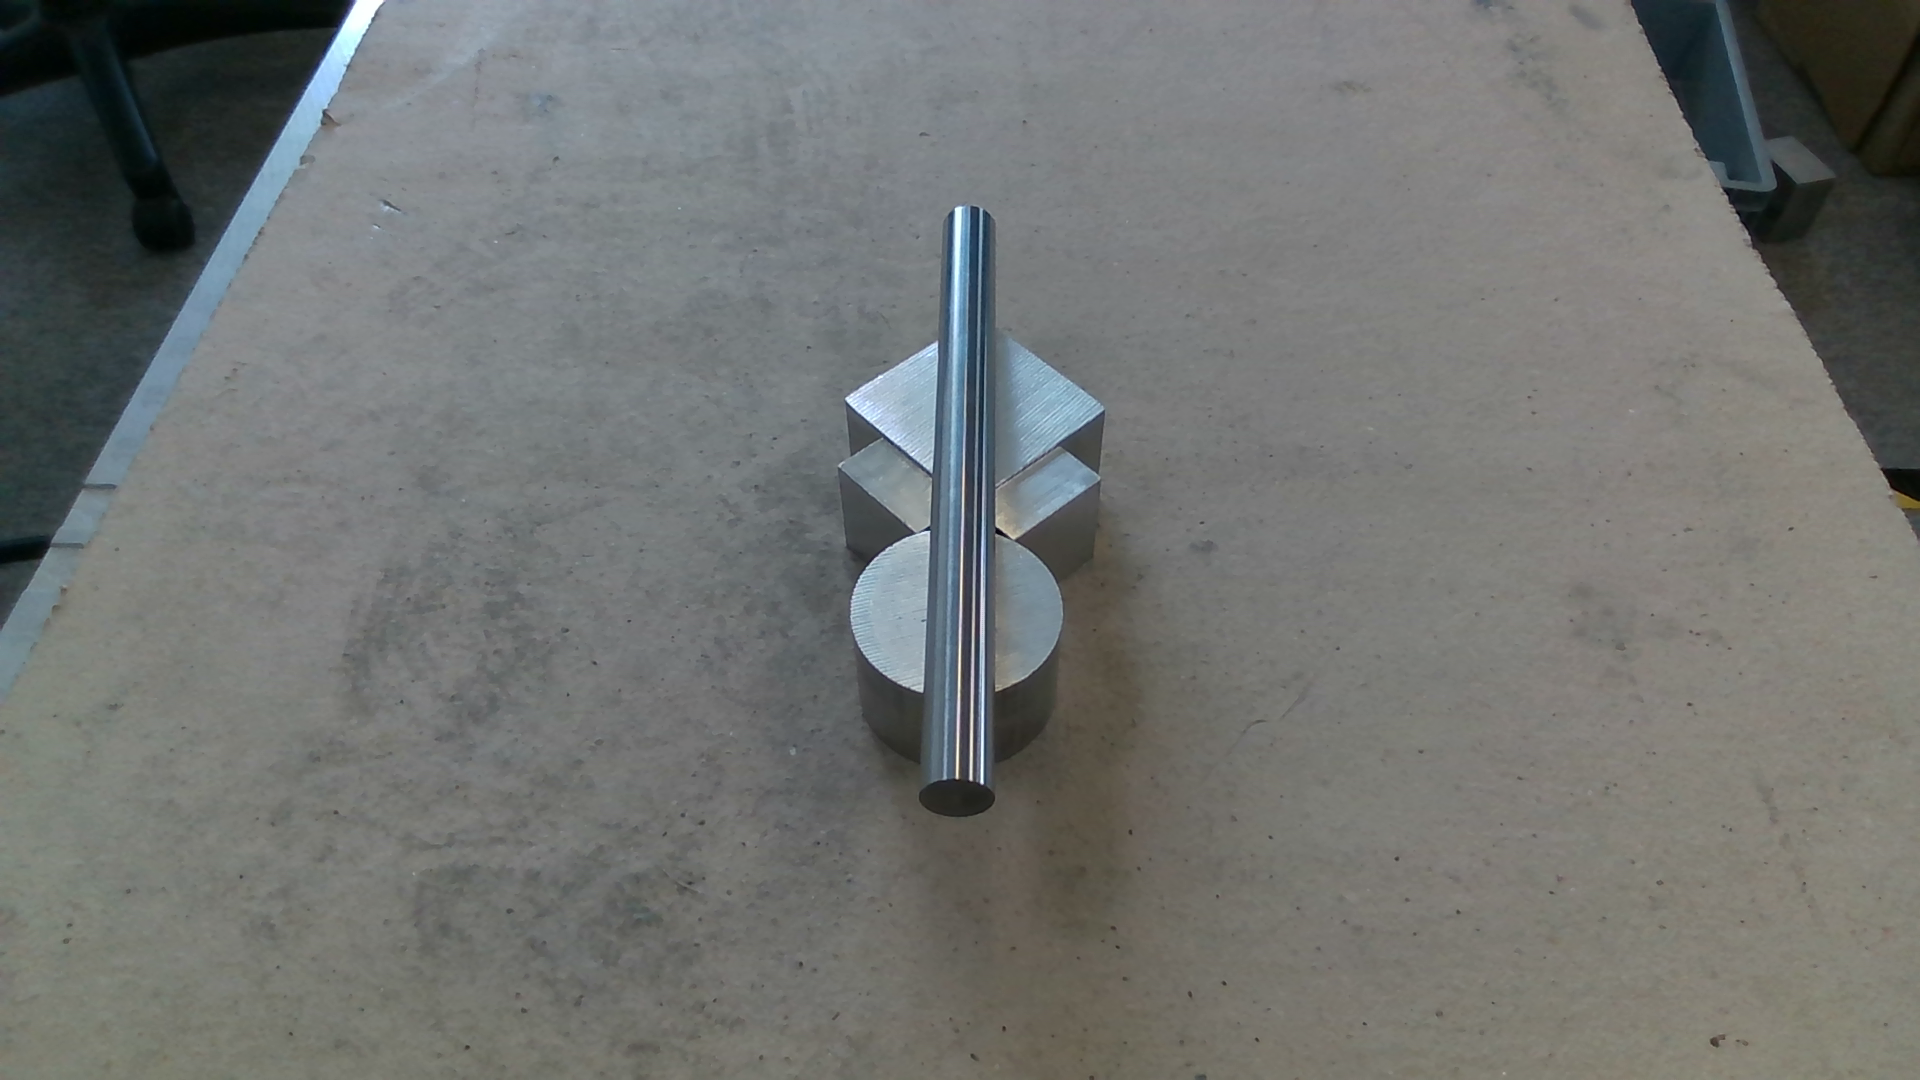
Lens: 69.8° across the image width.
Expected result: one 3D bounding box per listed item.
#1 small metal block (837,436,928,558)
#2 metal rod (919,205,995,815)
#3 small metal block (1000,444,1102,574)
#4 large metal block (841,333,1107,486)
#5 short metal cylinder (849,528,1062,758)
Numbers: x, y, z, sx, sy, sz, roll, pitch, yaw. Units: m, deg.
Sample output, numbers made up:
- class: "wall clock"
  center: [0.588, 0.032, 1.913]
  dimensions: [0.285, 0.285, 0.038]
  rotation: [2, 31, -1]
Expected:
- class: "small metal block"
  center: [-0.024, -0.007, 0.578]
  dimensions: [0.025, 0.050, 0.050]
  rotation: [-35, 58, -25]
- class: "metal rod"
  center: [0.001, -0.031, 0.546]
  dimensions: [0.025, 0.025, 0.299]
  rotation: [1, 50, 1]
- class: "small metal block"
  center: [0.031, -0.004, 0.575]
  dimensions: [0.050, 0.050, 0.025]
  rotation: [-35, 58, -25]
- class: "large metal block"
  center: [0.006, -0.042, 0.605]
  dimensions: [0.080, 0.050, 0.080]
  rotation: [-35, 58, -25]
- class: "short metal cylinder"
  center: [-0.001, 0.040, 0.537]
  dimensions: [0.080, 0.050, 0.080]
  rotation: [0, 50, 0]
